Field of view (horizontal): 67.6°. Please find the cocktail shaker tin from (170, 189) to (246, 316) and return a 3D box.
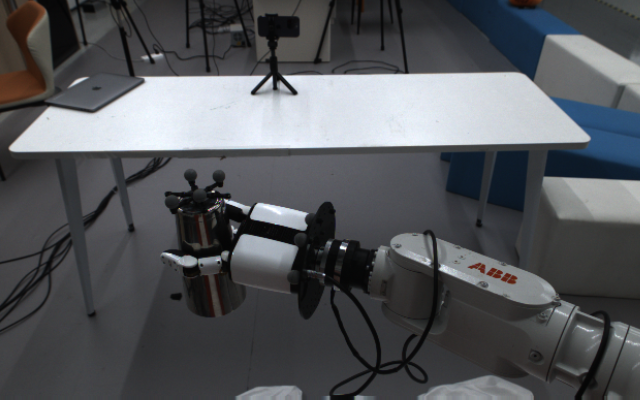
[{"bbox_3d":[-0.157,0.072,0.688,0.093,0.170,0.093,-1,32,1],"label":"cocktail shaker tin"}]
